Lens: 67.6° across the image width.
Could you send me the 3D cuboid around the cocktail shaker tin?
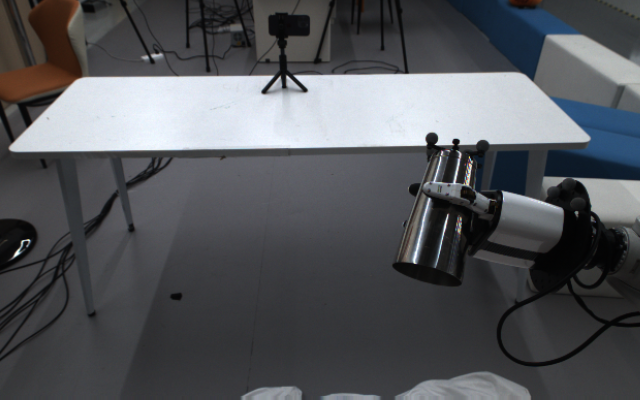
[{"bbox_3d":[0.164,0.021,0.655,0.093,0.093,0.170,13,70,15],"label":"cocktail shaker tin"}]
